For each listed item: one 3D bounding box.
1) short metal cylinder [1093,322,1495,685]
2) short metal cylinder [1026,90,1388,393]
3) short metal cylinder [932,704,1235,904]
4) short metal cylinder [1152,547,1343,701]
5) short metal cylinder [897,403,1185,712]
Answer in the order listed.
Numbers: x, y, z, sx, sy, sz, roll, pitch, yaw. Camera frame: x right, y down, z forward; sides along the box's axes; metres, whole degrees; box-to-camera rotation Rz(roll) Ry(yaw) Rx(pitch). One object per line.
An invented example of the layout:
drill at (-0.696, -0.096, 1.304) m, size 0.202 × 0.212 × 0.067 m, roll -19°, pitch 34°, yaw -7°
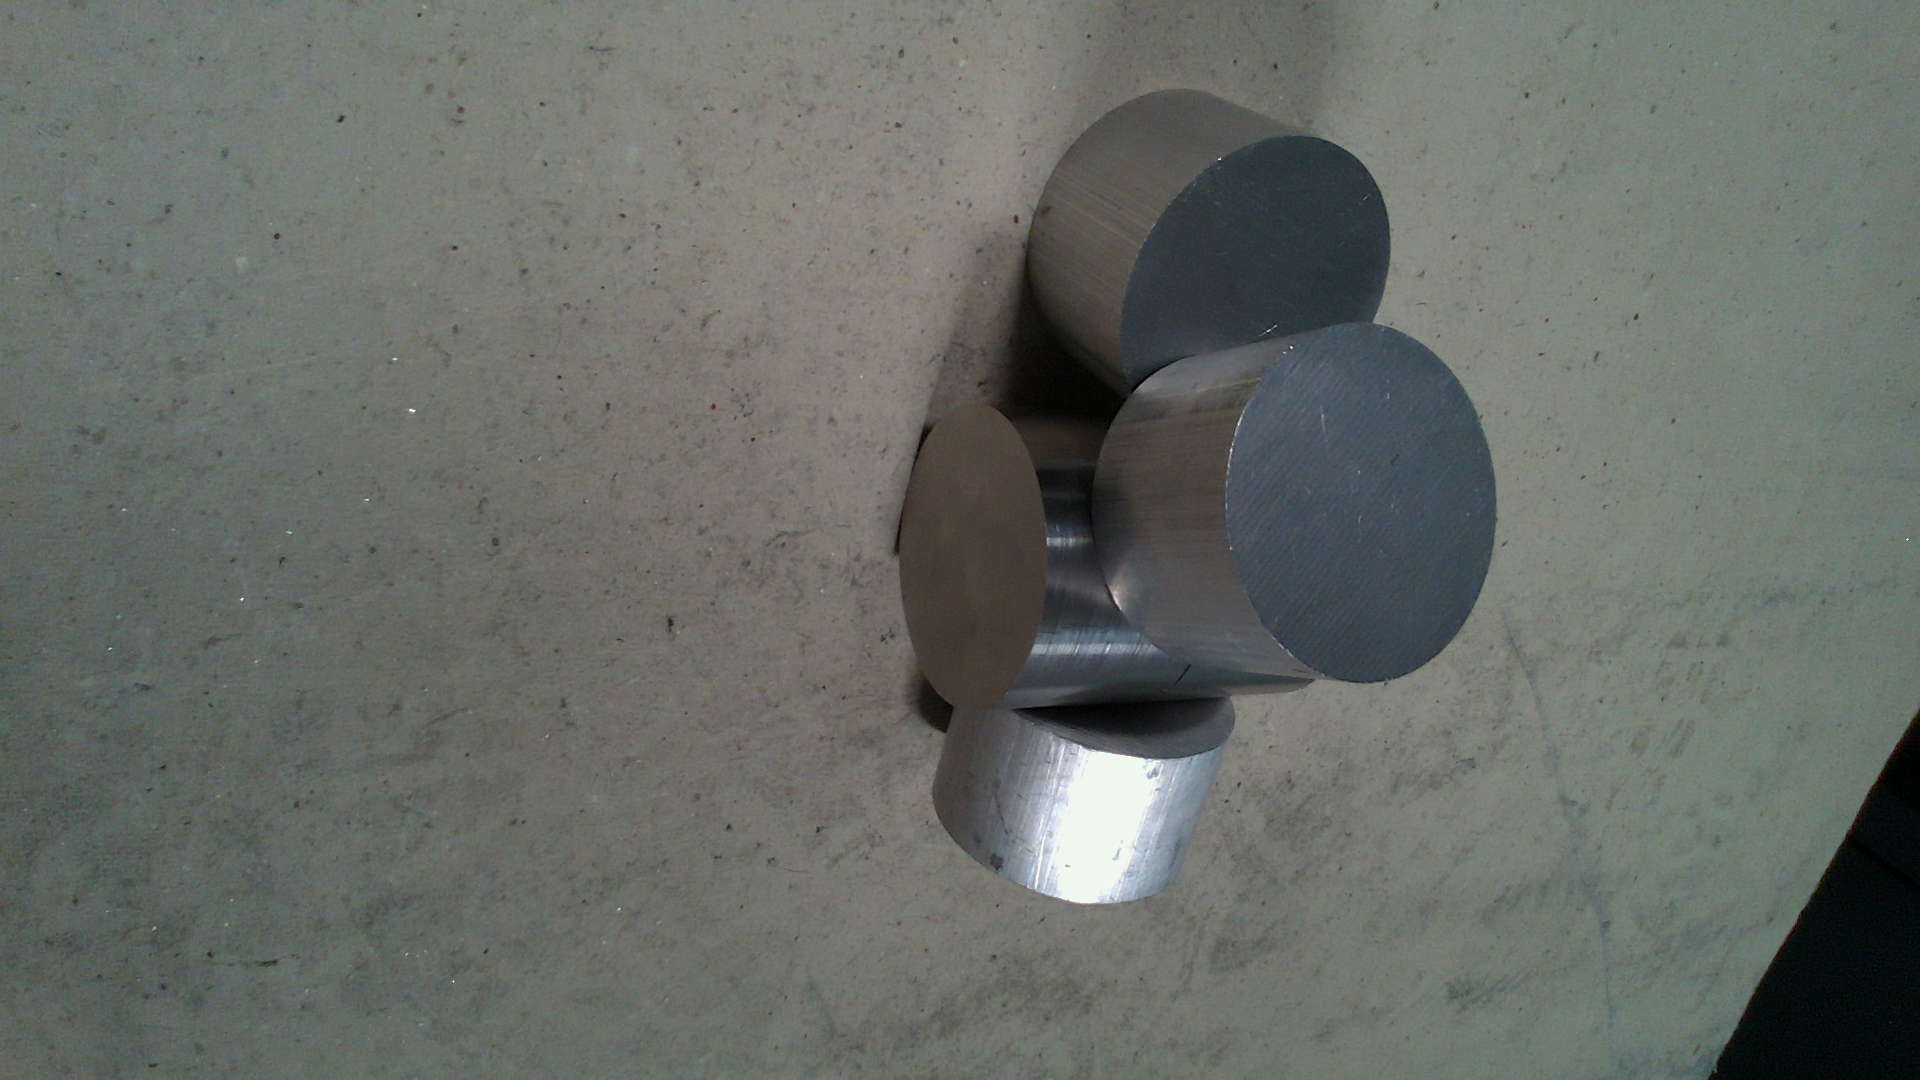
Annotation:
short metal cylinder at (0.079, -0.008, 0.326) m, size 0.080 × 0.050 × 0.080 m, roll 0°, pitch 90°, yaw -29°
short metal cylinder at (0.065, -0.073, 0.364) m, size 0.080 × 0.050 × 0.080 m, roll -14°, pitch 124°, yaw -21°
short metal cylinder at (0.036, 0.062, 0.412) m, size 0.080 × 0.080 × 0.050 m, roll 0°, pitch 118°, yaw -28°
short metal cylinder at (0.069, 0.005, 0.394) m, size 0.050 × 0.080 × 0.080 m, roll 0°, pitch 118°, yaw -28°
short metal cylinder at (0.023, 0.005, 0.370) m, size 0.050 × 0.080 × 0.080 m, roll 0°, pitch 118°, yaw -29°
